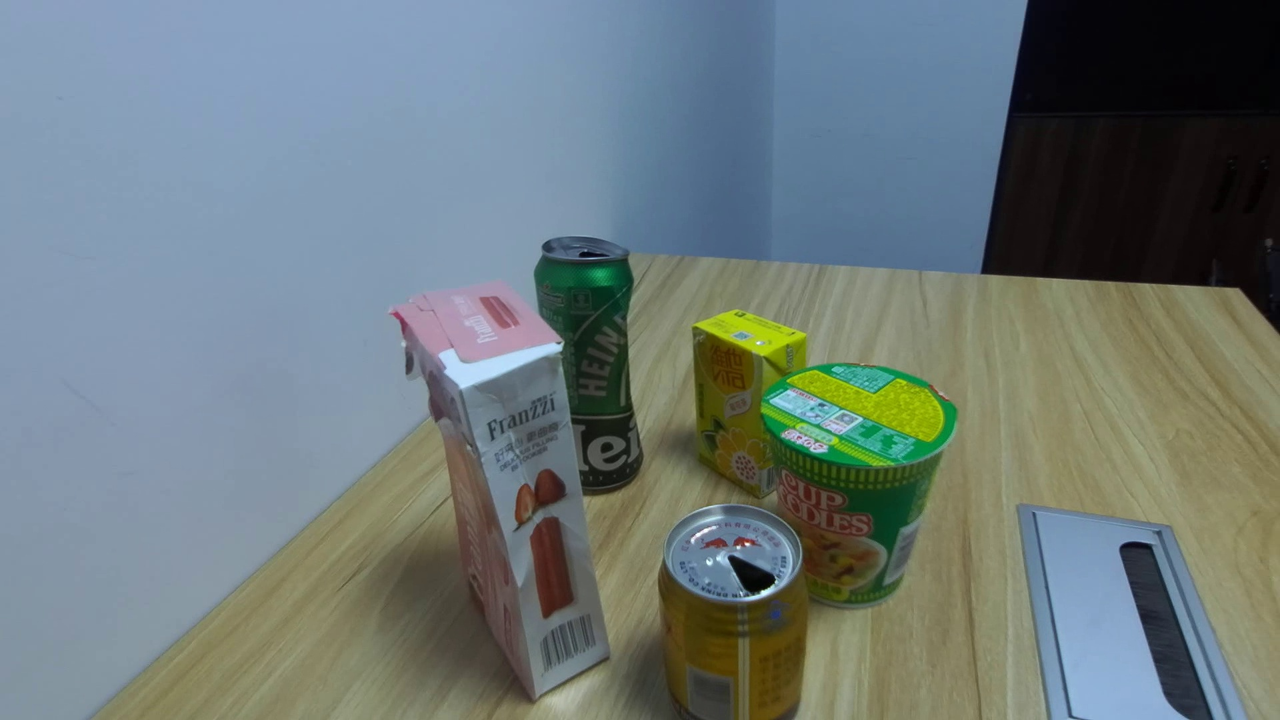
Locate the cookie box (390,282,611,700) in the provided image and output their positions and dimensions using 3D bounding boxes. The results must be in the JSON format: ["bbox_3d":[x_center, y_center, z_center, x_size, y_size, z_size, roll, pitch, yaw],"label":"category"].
[{"bbox_3d":[-0.066,0.068,0.350,0.059,0.186,0.104,-16,25,-24],"label":"cookie box"}]

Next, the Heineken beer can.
[{"bbox_3d":[-0.029,0.005,0.475,0.069,0.168,0.068,10,28,19],"label":"Heineken beer can"}]

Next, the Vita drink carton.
[{"bbox_3d":[0.071,0.027,0.475,0.043,0.109,0.076,-20,30,-30],"label":"Vita drink carton"}]

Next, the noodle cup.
[{"bbox_3d":[0.114,0.072,0.385,0.097,0.110,0.097,-5,28,3],"label":"noodle cup"}]
